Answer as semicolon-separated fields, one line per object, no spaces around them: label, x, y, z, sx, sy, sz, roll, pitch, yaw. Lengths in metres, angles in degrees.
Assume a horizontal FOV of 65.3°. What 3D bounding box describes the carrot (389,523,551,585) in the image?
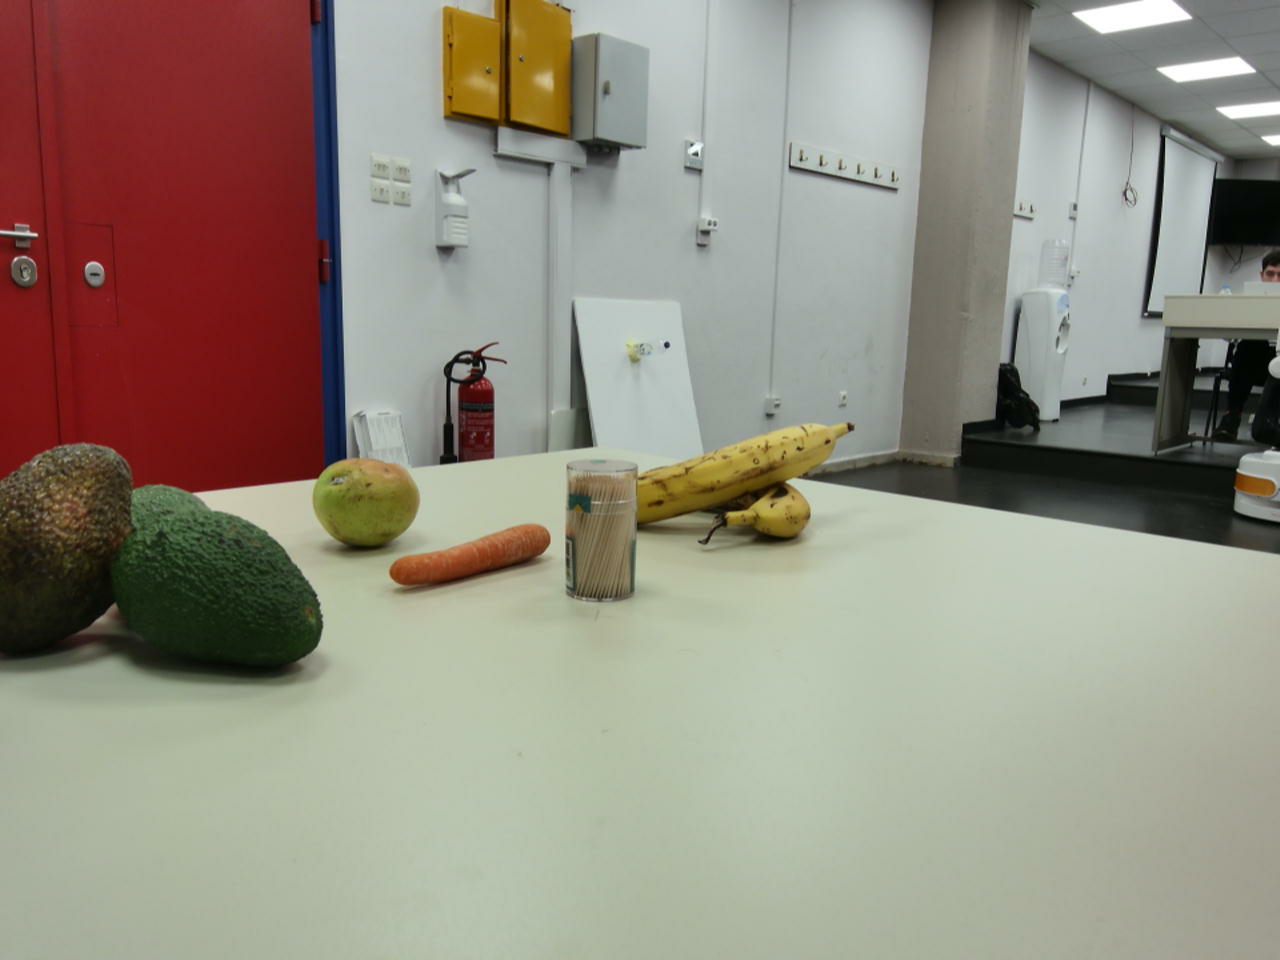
carrot;-0.100;0.045;0.606;0.024;0.023;0.122;7;11;39
